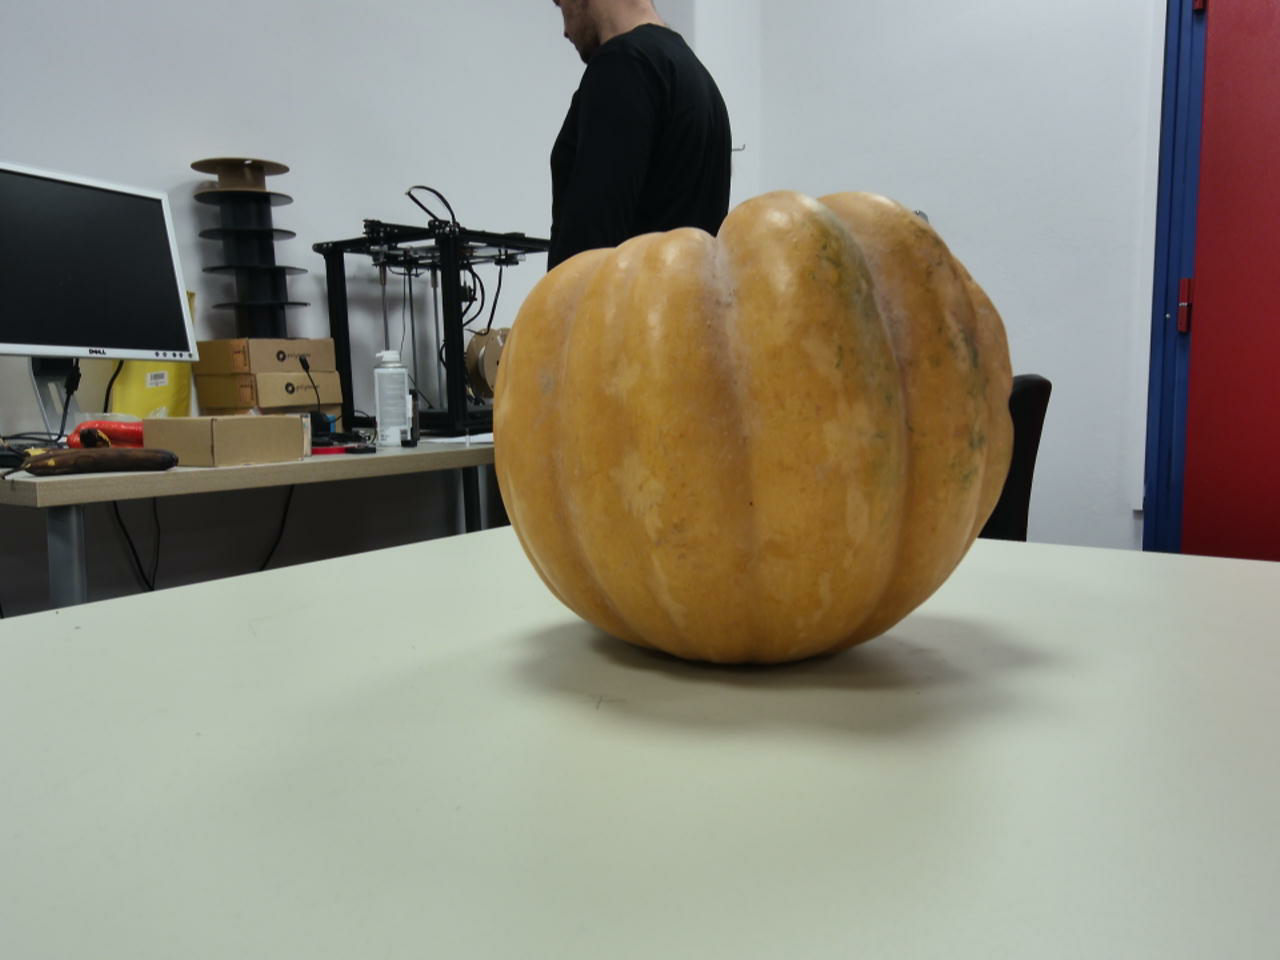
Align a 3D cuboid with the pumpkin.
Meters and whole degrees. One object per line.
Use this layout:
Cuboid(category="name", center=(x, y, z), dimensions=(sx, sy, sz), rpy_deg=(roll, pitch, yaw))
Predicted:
Cuboid(category="pumpkin", center=(0.048, -0.020, 0.448), dimensions=(0.230, 0.194, 0.230), rpy_deg=(1, 3, 0))
